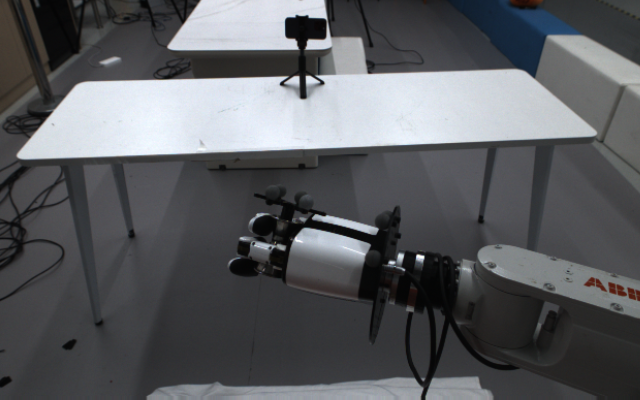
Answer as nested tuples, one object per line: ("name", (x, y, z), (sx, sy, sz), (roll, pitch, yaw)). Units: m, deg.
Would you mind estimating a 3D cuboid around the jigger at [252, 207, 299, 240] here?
("jigger", (-0.048, 0.054, 0.577), (0.043, 0.071, 0.043), (17, 2, -1))
